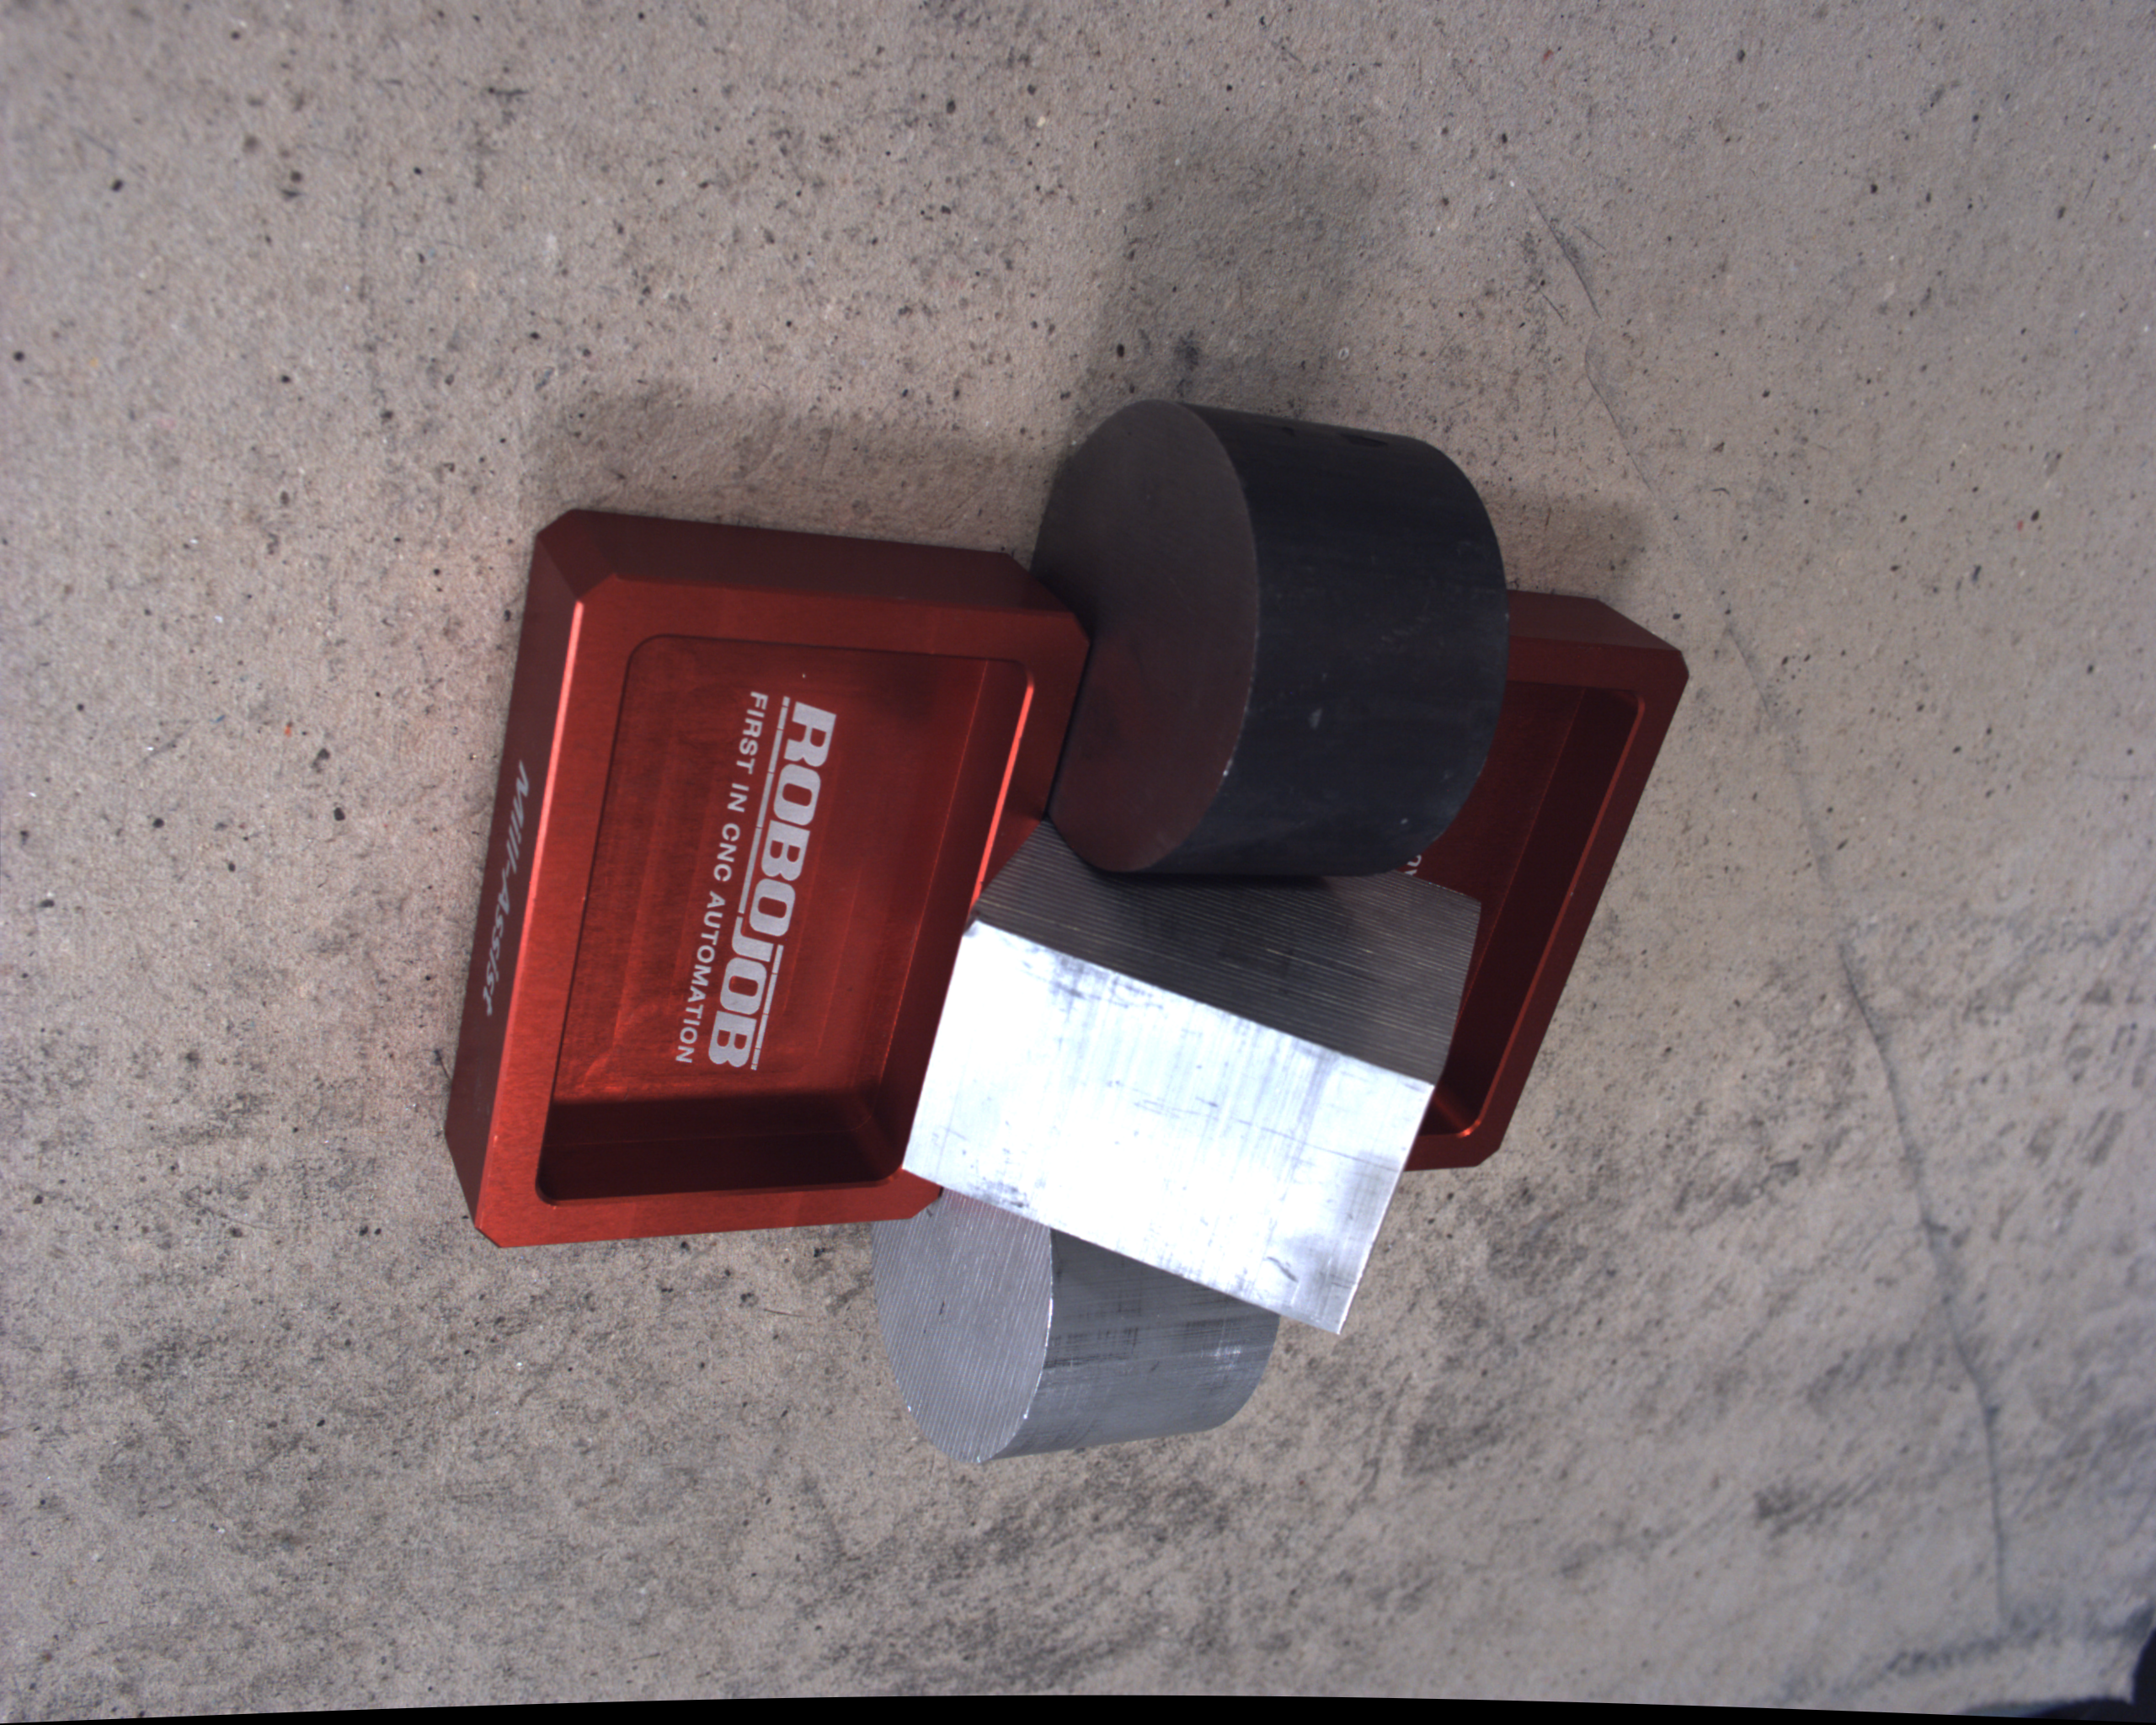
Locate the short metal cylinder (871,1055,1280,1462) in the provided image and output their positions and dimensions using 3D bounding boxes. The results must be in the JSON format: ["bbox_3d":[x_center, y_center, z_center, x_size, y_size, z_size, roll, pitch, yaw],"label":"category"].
[{"bbox_3d":[-0.002,0.076,0.419,0.050,0.080,0.079,2,118,-30],"label":"short metal cylinder"}]

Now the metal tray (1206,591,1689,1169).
[{"bbox_3d":[0.066,0.006,0.445,0.091,0.030,0.129,1,118,-29],"label":"metal tray"}]

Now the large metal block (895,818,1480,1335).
[{"bbox_3d":[0.023,0.029,0.377,0.080,0.080,0.050,19,115,7],"label":"large metal block"}]

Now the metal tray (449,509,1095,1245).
[{"bbox_3d":[-0.057,0.006,0.378,0.091,0.030,0.129,1,118,-29],"label":"metal tray"}]

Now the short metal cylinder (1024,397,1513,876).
[{"bbox_3d":[0.030,-0.038,0.366,0.050,0.080,0.079,2,118,-30],"label":"short metal cylinder"}]
